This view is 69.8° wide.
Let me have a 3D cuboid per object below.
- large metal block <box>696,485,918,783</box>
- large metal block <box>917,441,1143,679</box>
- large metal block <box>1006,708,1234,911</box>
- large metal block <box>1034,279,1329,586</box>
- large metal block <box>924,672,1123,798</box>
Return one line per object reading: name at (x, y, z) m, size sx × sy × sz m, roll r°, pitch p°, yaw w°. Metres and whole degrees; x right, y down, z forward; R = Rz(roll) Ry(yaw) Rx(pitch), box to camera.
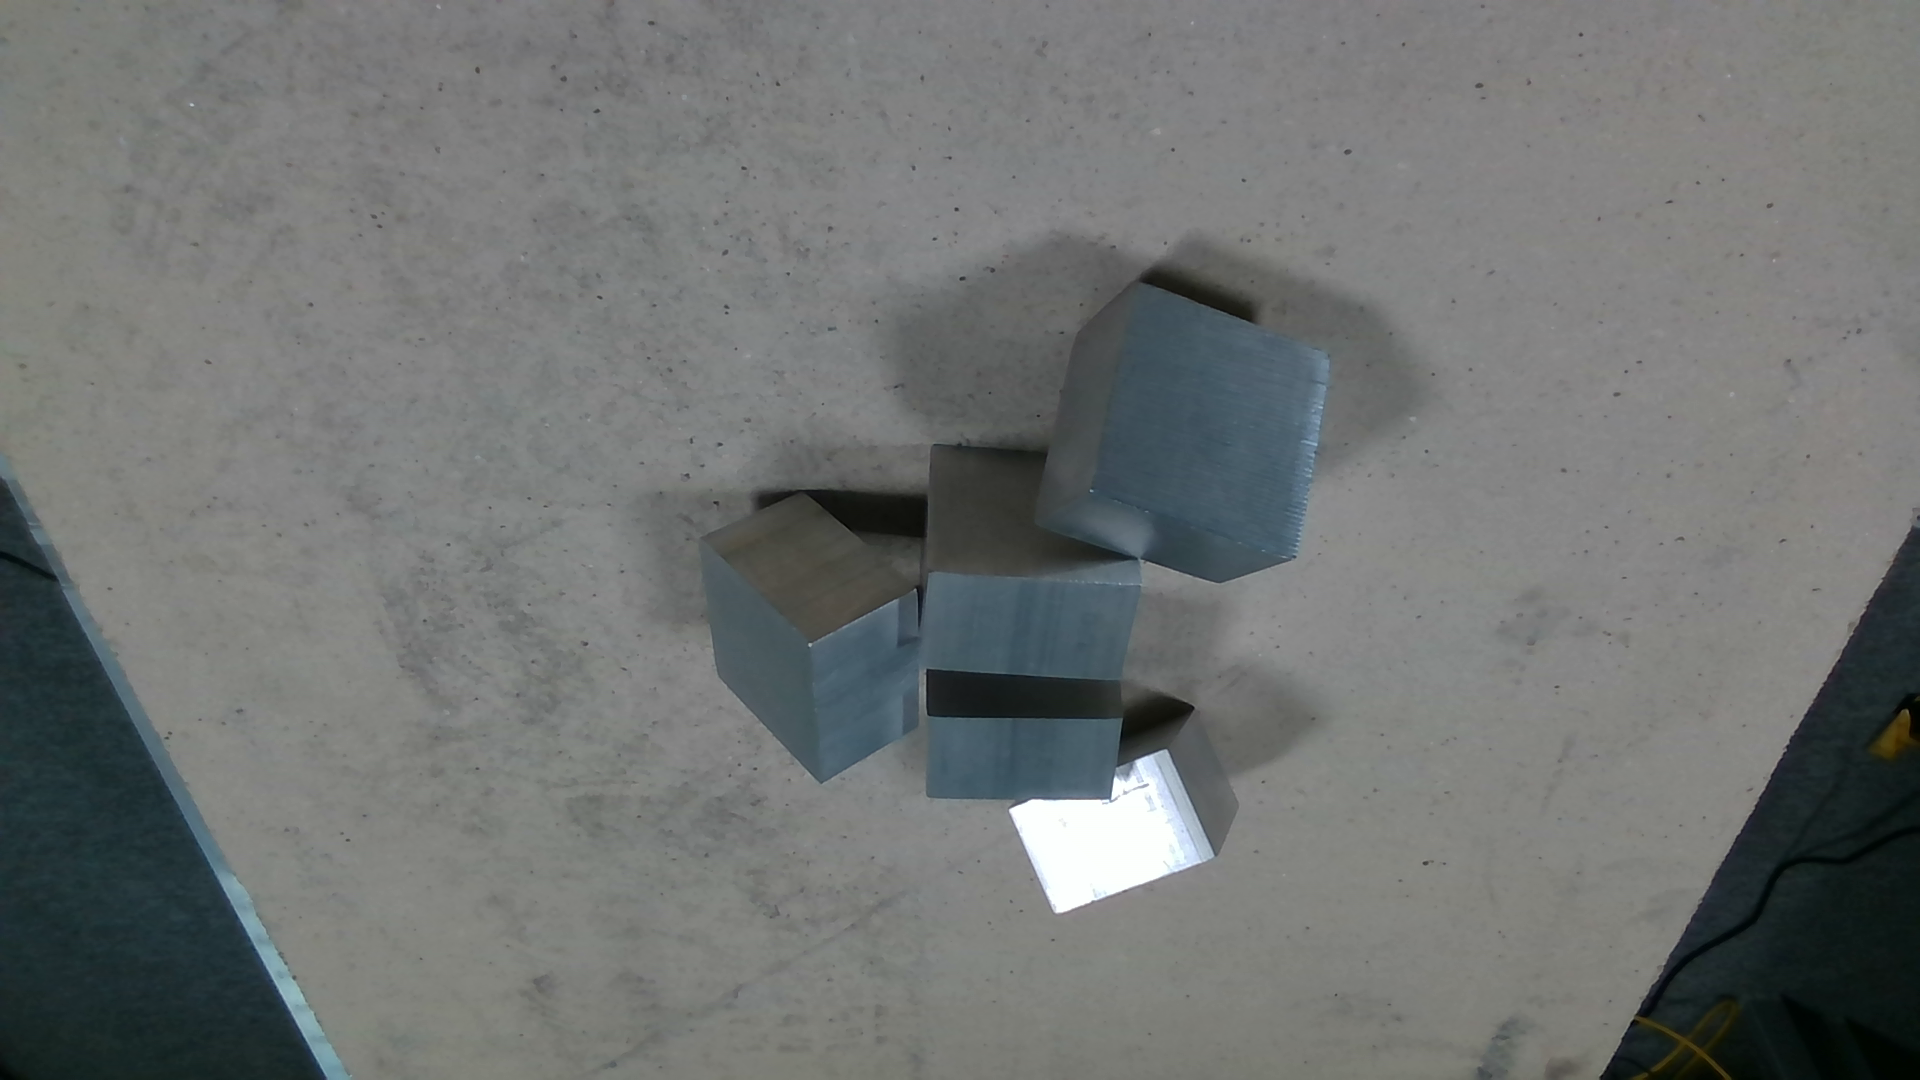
large metal block at (-0.062, 0.038, 0.567) m, size 0.050 × 0.080 × 0.080 m, roll -27°, pitch 137°, yaw -30°
large metal block at (0.025, 0.007, 0.550) m, size 0.080 × 0.080 × 0.050 m, roll 4°, pitch 130°, yaw -3°
large metal block at (0.077, 0.122, 0.638) m, size 0.080 × 0.080 × 0.050 m, roll -25°, pitch 88°, yaw 19°
large metal block at (0.080, -0.037, 0.501) m, size 0.080 × 0.080 × 0.050 m, roll 18°, pitch 164°, yaw -14°
large metal block at (0.025, 0.064, 0.598) m, size 0.080 × 0.080 × 0.050 m, roll 1°, pitch 130°, yaw -1°
